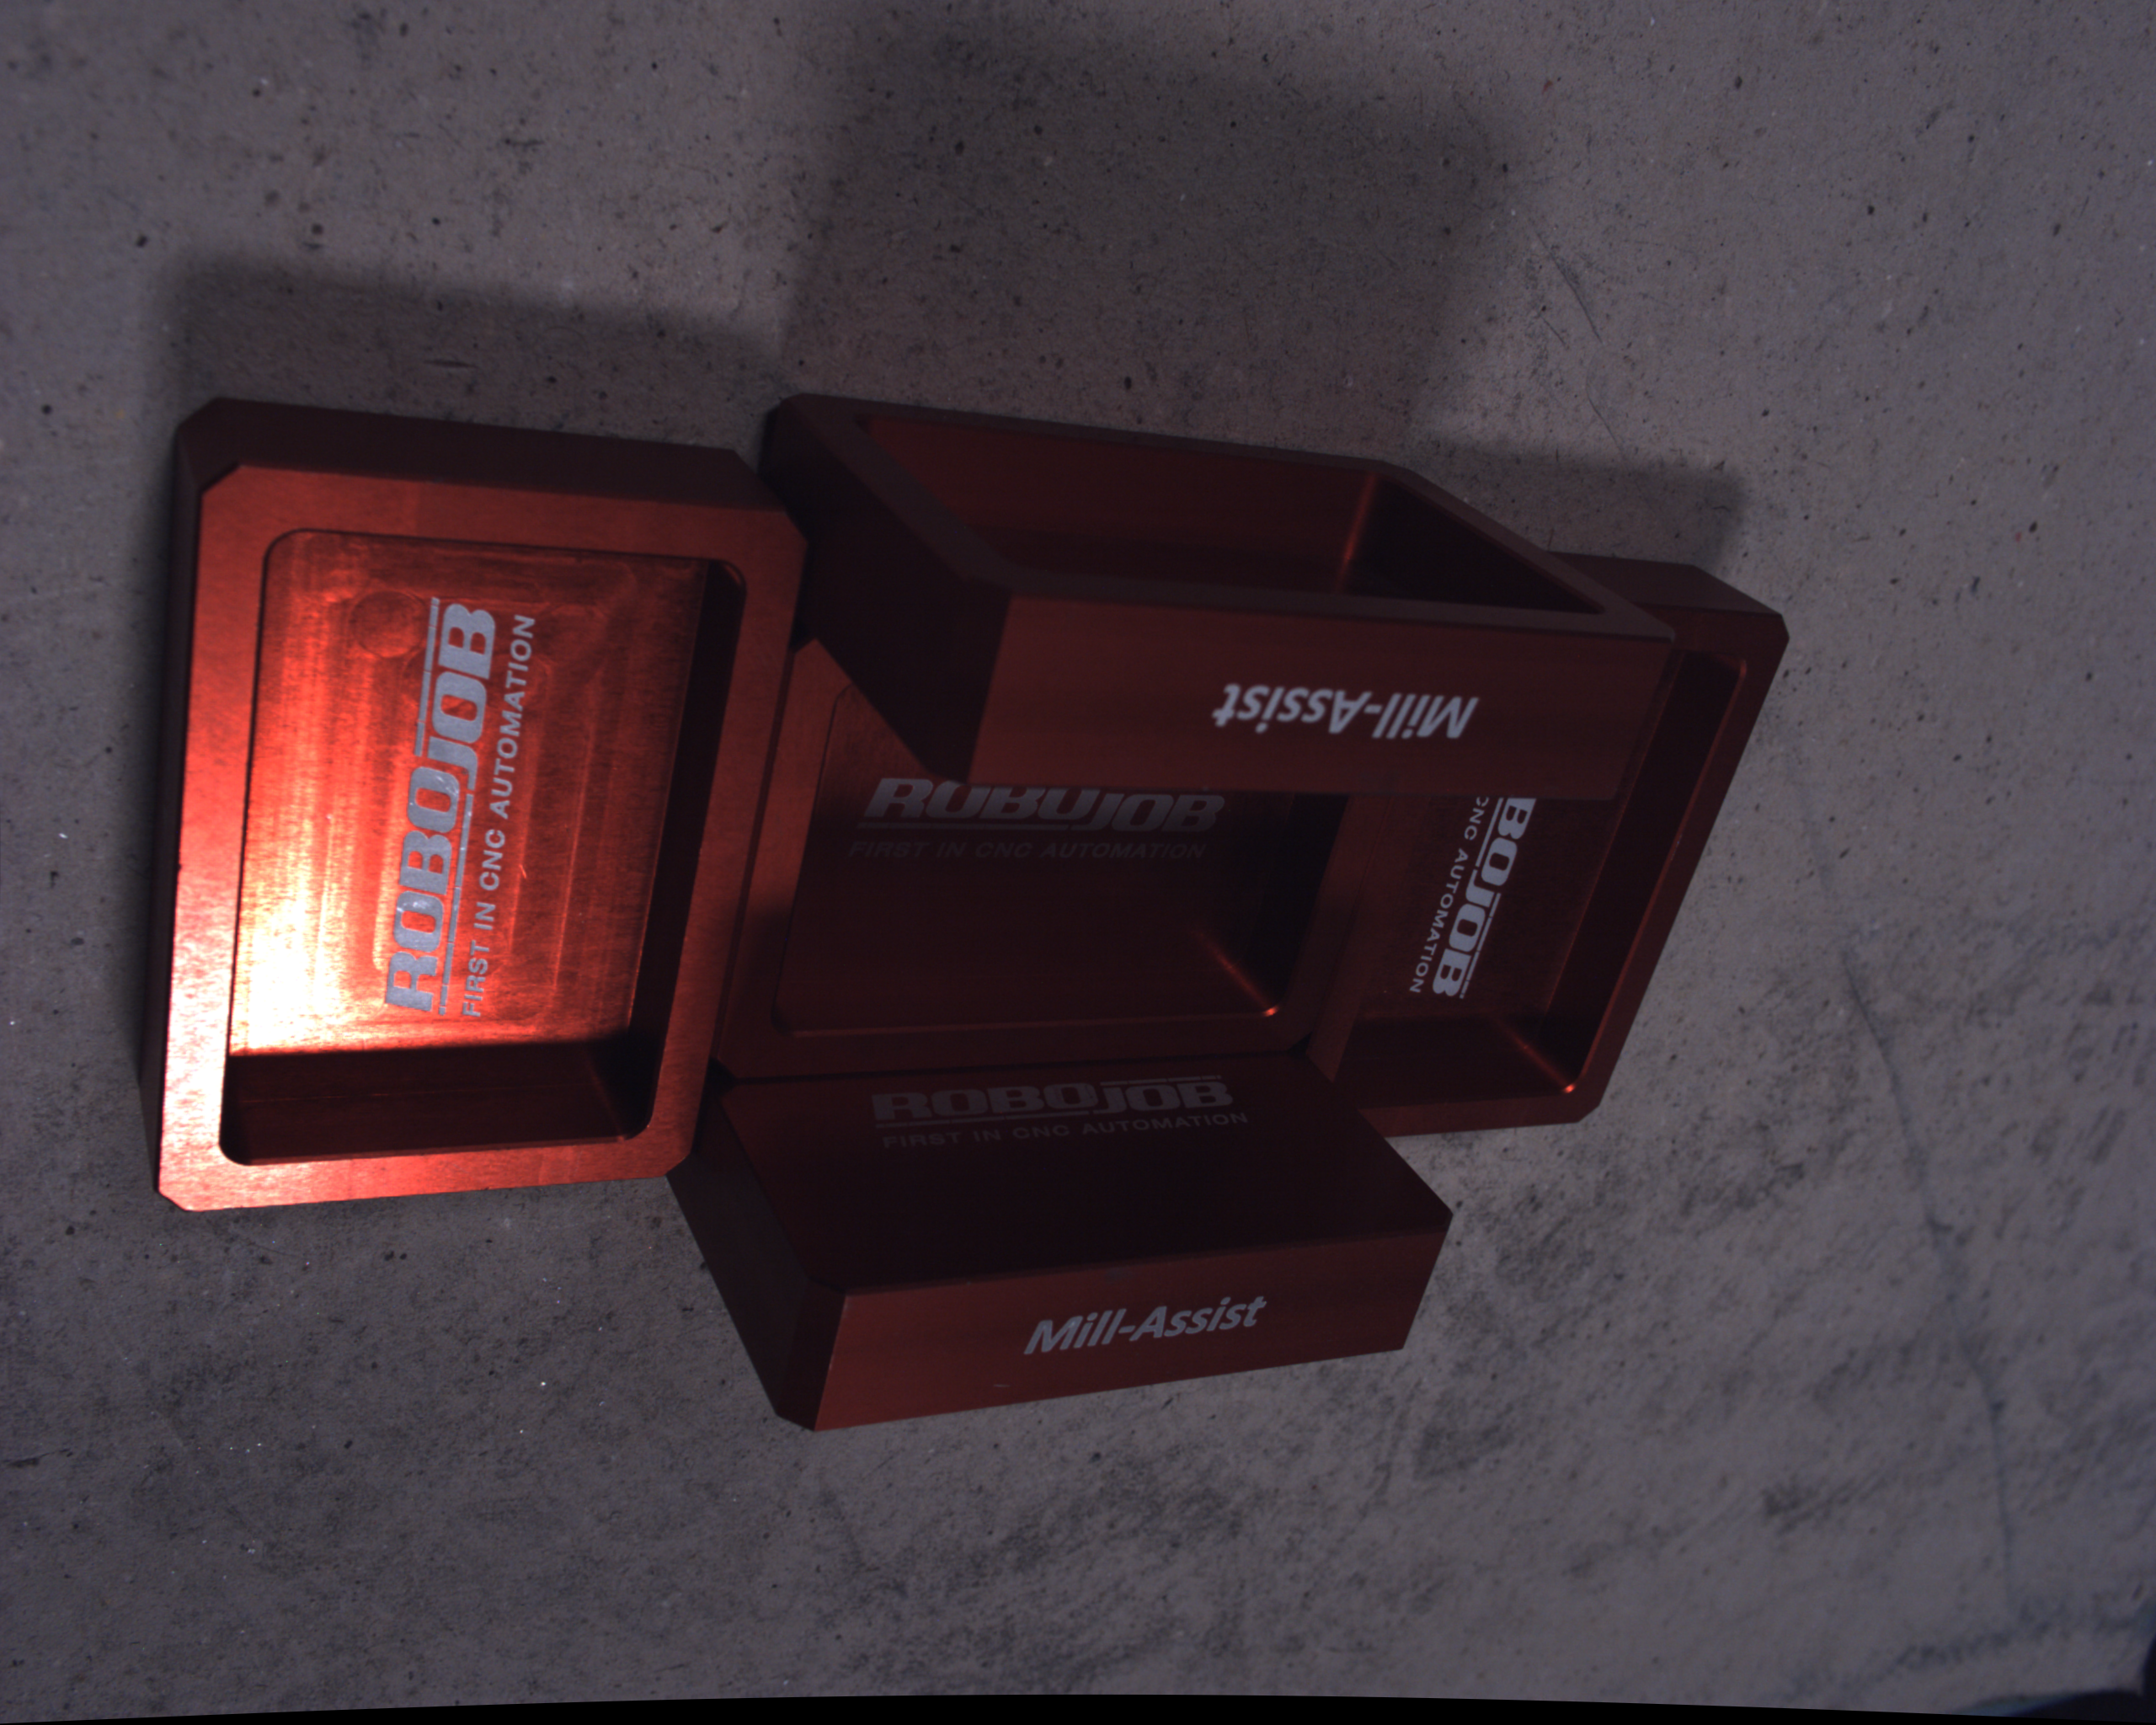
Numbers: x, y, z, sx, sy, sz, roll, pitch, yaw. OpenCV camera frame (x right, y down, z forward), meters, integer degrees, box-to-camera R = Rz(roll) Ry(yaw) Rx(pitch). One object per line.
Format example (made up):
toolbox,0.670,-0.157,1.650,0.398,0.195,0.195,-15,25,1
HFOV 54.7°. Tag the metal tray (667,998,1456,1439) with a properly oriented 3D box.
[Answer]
metal tray,-0.006,0.061,0.400,0.131,0.090,0.030,0,118,-29

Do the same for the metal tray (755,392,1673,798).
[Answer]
metal tray,0.021,-0.045,0.352,0.131,0.090,0.030,0,119,-29

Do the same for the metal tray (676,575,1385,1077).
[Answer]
metal tray,-0.006,-0.007,0.399,0.131,0.030,0.089,1,118,-29

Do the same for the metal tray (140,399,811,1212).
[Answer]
metal tray,-0.102,-0.006,0.346,0.091,0.030,0.129,0,118,-29

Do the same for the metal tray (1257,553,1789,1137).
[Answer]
metal tray,0.091,-0.002,0.456,0.091,0.030,0.129,0,118,-29
